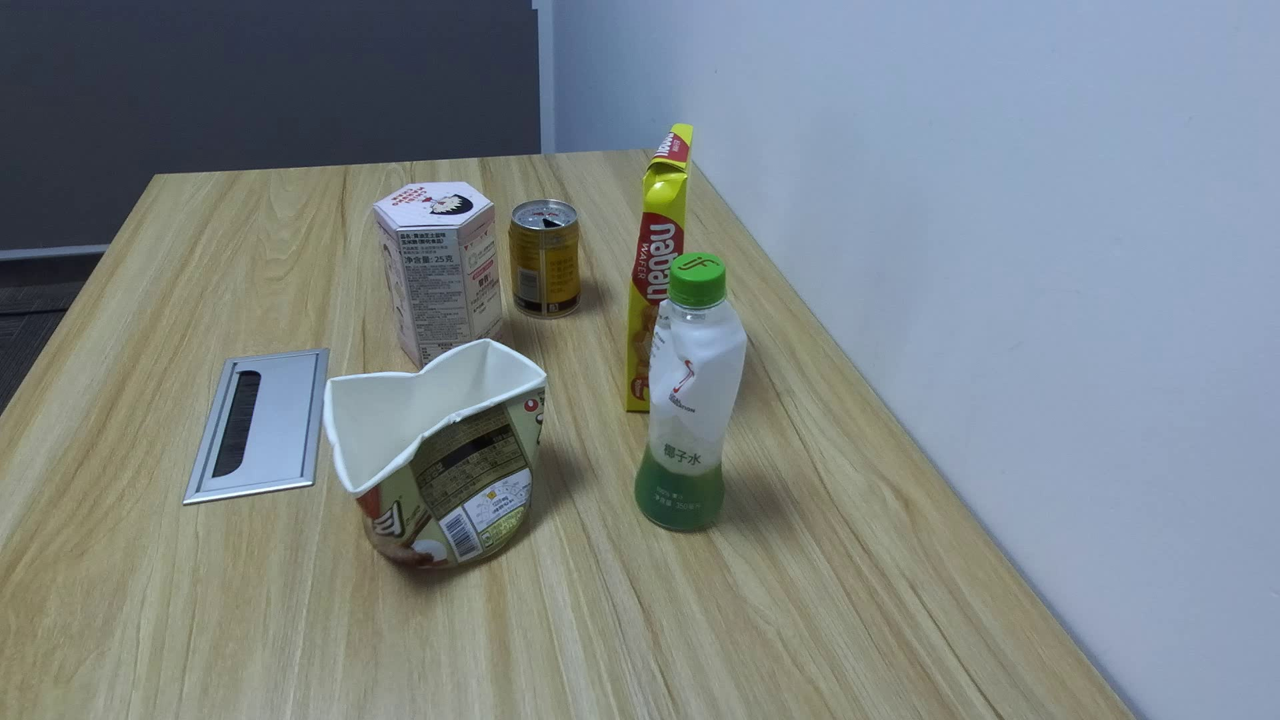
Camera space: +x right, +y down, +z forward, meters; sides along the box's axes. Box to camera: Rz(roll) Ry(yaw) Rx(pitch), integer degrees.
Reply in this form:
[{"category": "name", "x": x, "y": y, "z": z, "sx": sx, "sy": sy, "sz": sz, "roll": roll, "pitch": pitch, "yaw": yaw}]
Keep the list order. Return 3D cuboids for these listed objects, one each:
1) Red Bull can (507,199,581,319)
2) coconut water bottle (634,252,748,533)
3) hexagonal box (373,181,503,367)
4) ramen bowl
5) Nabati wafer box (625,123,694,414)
[{"category": "Red Bull can", "x": -0.088, "y": -0.094, "z": 0.659, "sx": 0.068, "sy": 0.093, "sz": 0.068, "roll": 2, "pitch": 36, "yaw": -1}, {"category": "coconut water bottle", "x": 0.032, "y": 0.022, "z": 0.437, "sx": 0.069, "sy": 0.187, "sz": 0.069, "roll": 2, "pitch": 39, "yaw": -1}, {"category": "hexagonal box", "x": -0.162, "y": -0.067, "z": 0.582, "sx": 0.083, "sy": 0.136, "sz": 0.091, "roll": 17, "pitch": 40, "yaw": 16}, {"category": "ramen bowl", "x": -0.122, "y": 0.060, "z": 0.457, "sx": 0.129, "sy": 0.093, "sz": 0.111, "roll": -16, "pitch": 43, "yaw": -24}, {"category": "Nabati wafer box", "x": 0.015, "y": -0.065, "z": 0.533, "sx": 0.042, "sy": 0.205, "sz": 0.113, "roll": 4, "pitch": 36, "yaw": -1}]
